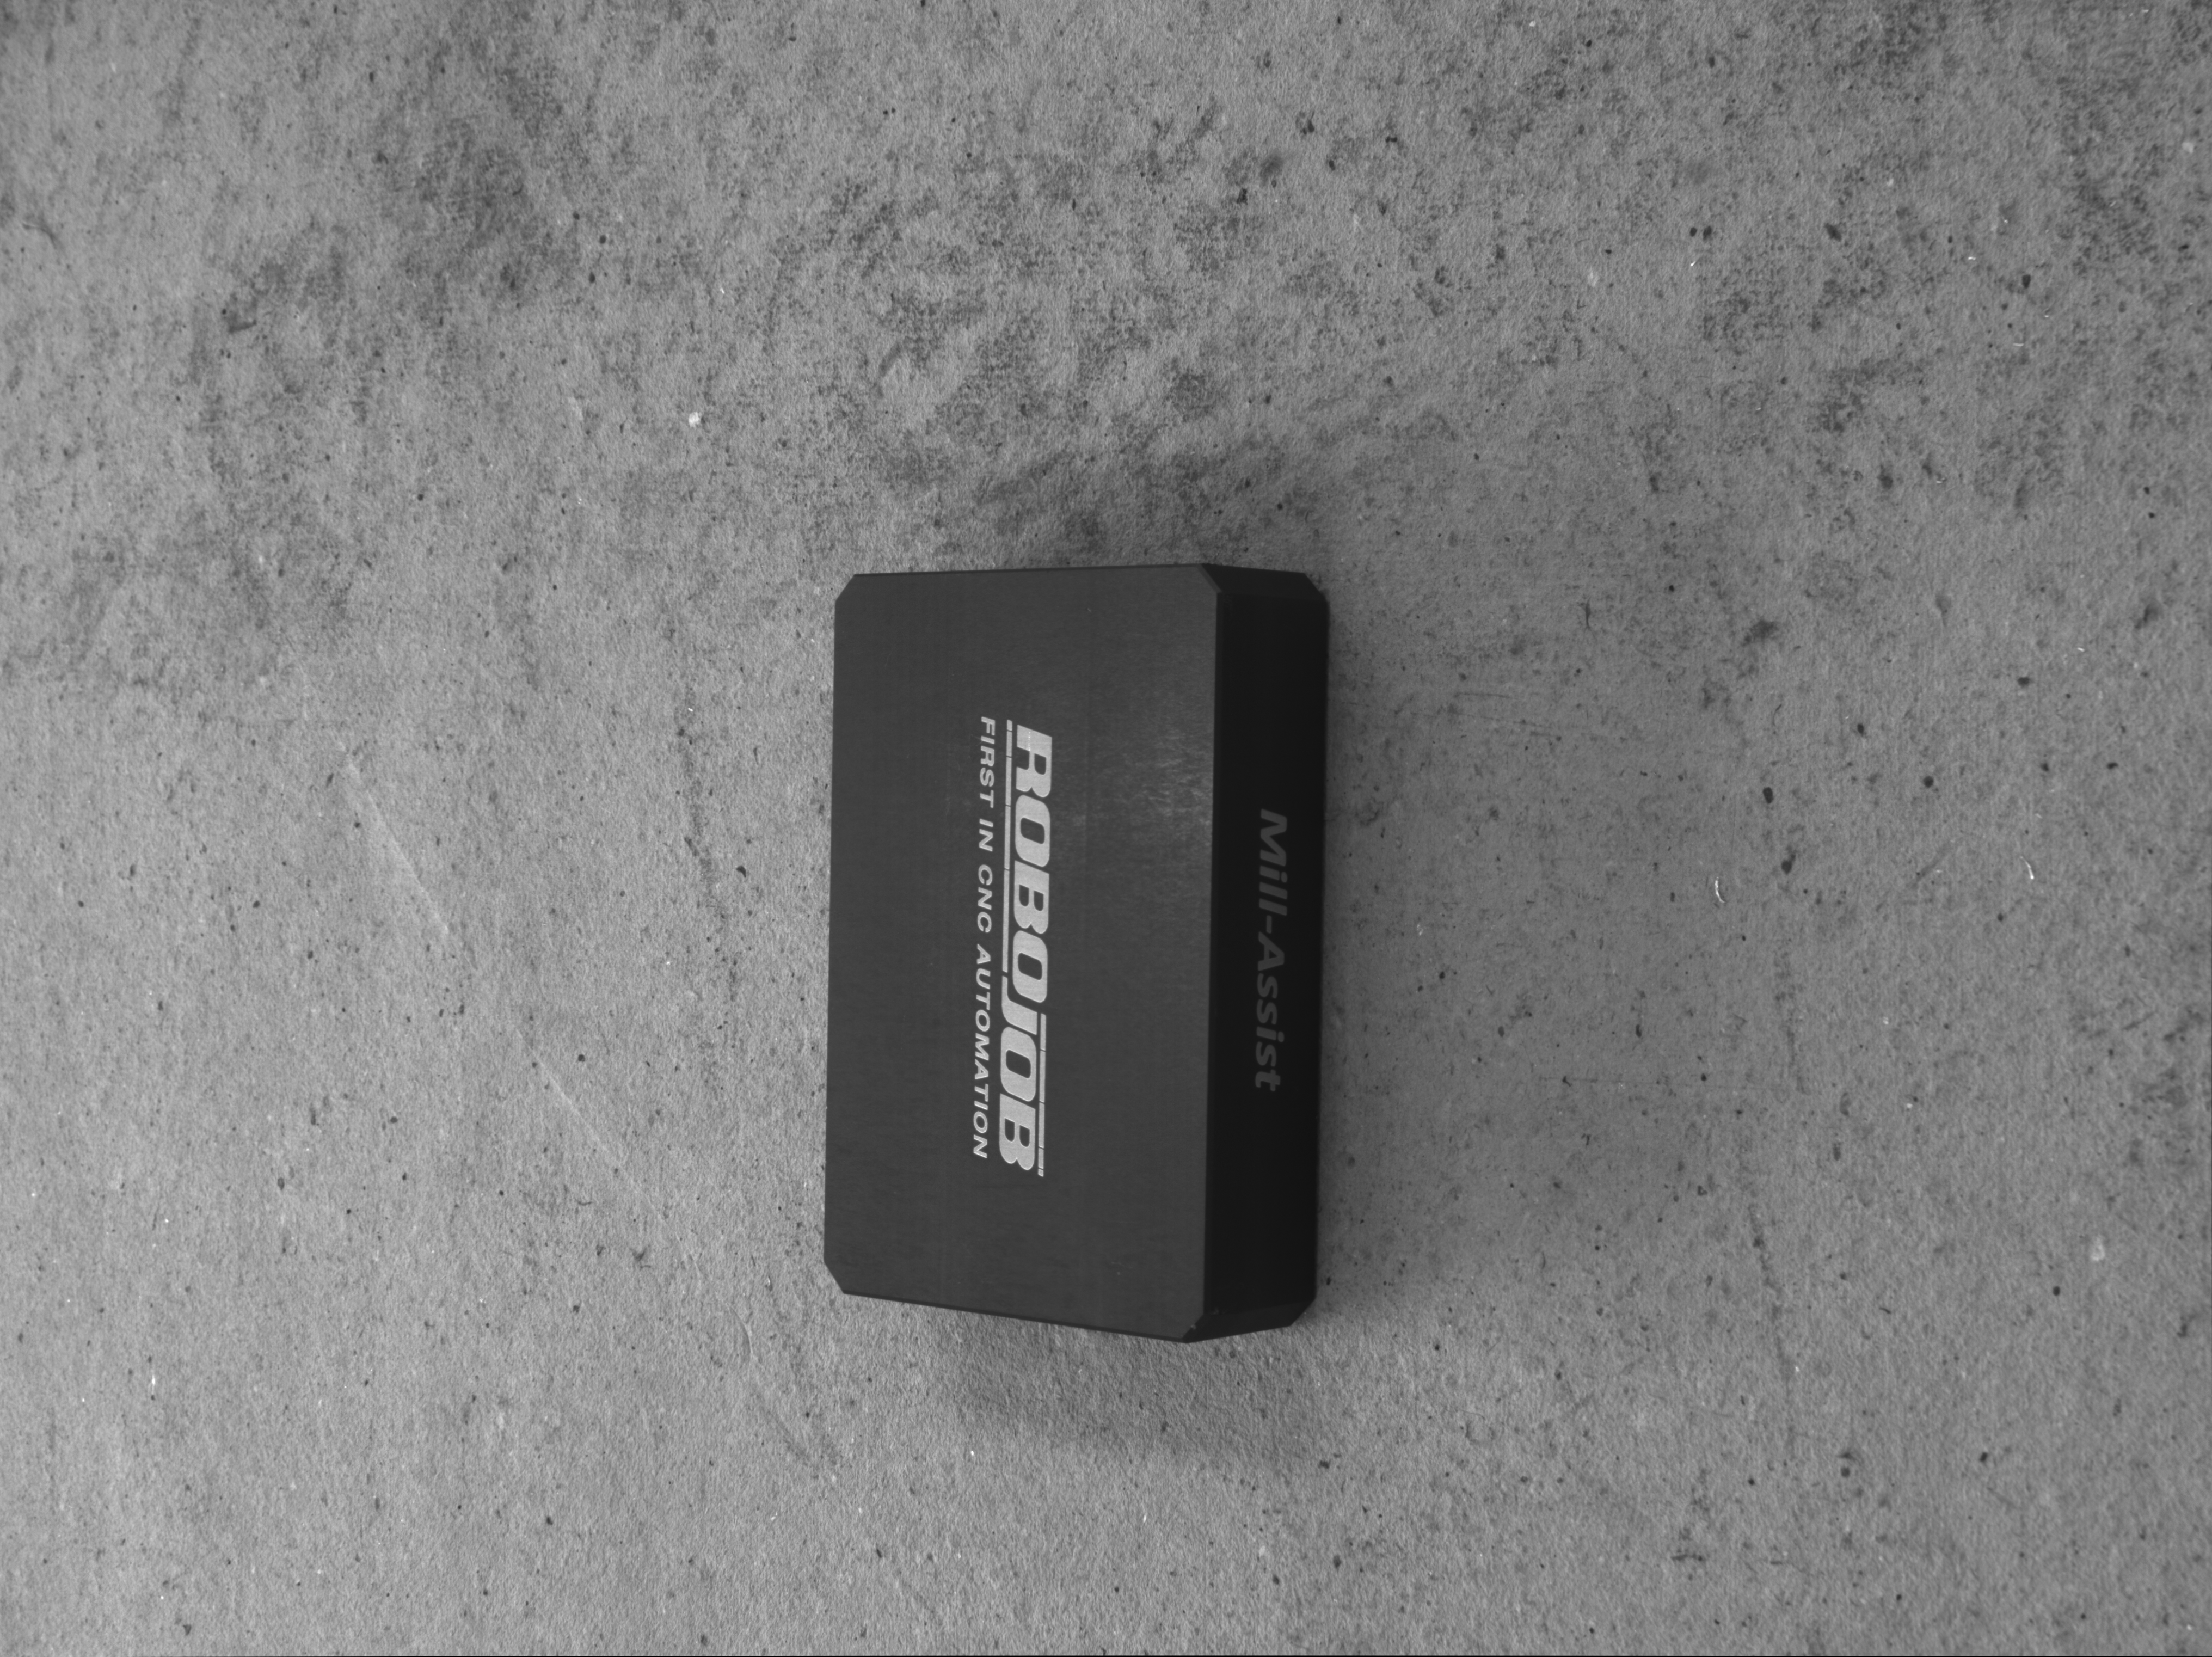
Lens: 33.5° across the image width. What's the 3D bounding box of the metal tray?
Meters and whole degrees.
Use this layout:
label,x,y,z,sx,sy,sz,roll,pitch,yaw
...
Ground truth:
label,x,y,z,sx,sy,sz,roll,pitch,yaw
metal tray,-0.007,0.020,0.648,0.090,0.030,0.130,1,91,40
